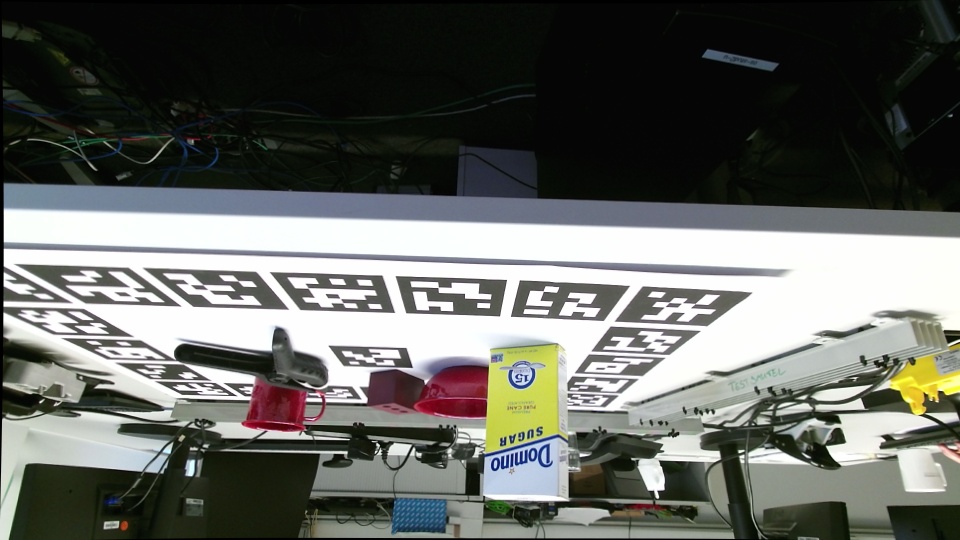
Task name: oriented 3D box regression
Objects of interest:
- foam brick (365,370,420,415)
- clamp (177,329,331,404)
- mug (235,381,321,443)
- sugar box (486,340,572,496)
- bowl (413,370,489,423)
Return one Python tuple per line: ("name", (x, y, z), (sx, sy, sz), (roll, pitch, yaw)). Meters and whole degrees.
("foam brick", (-0.134, 0.191, 0.817), (0.053, 0.051, 0.078), (-13, 146, 23))
("clamp", (-0.269, 0.139, 0.725), (0.166, 0.036, 0.203), (-12, 147, 19))
("mug", (-0.305, 0.217, 0.827), (0.118, 0.081, 0.093), (18, 147, -21))
("sugar box", (0.059, 0.176, 0.646), (0.093, 0.175, 0.045), (-10, 146, 22))
("bowl", (-0.016, 0.188, 0.790), (0.162, 0.055, 0.162), (2, 150, 1))
